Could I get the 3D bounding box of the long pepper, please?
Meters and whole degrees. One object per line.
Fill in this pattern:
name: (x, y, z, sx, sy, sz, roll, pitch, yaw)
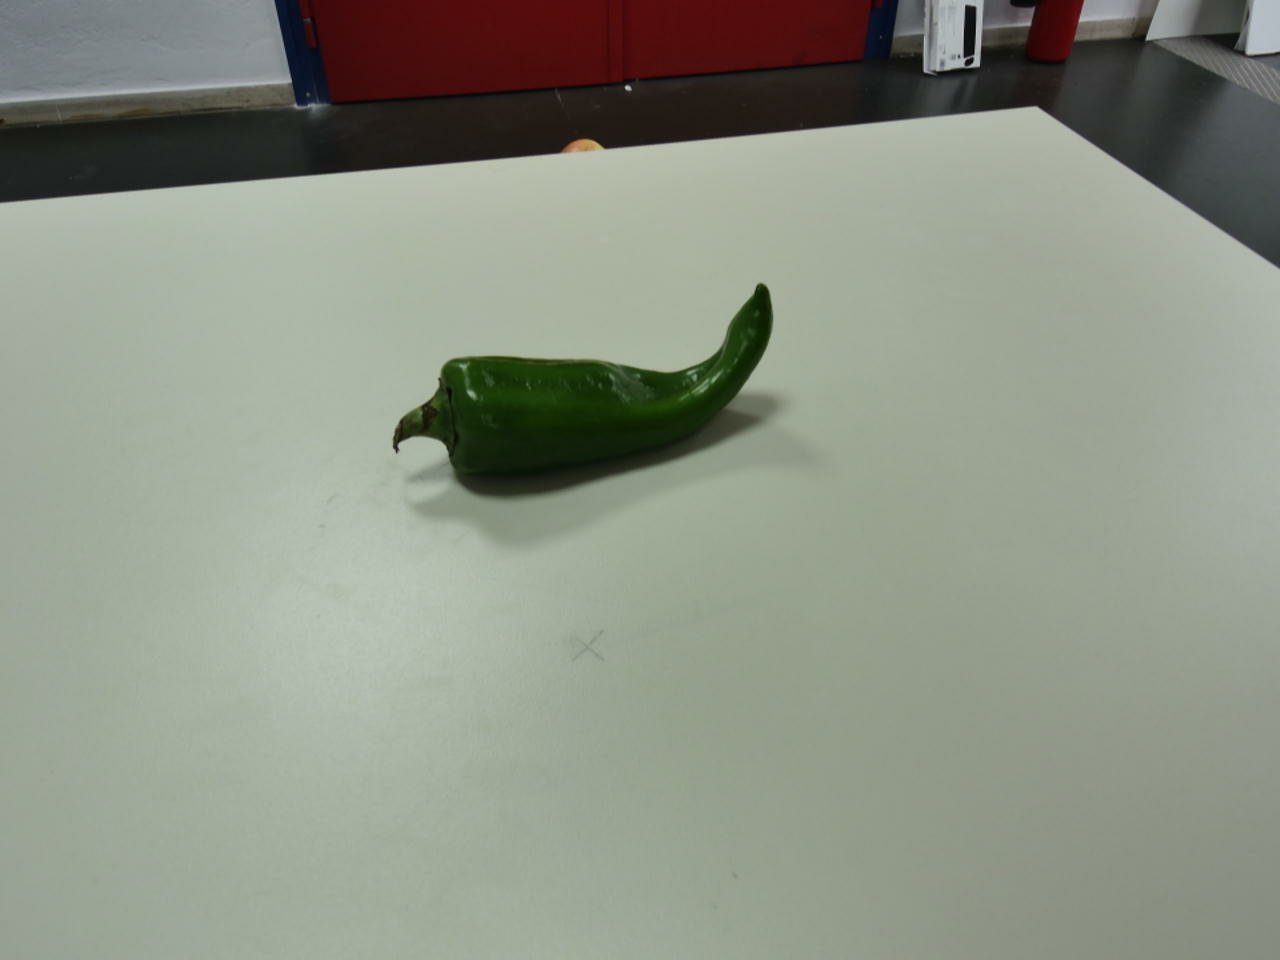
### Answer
long pepper: (-0.022, -0.042, 0.439, 0.175, 0.065, 0.058, -10, 39, -12)
